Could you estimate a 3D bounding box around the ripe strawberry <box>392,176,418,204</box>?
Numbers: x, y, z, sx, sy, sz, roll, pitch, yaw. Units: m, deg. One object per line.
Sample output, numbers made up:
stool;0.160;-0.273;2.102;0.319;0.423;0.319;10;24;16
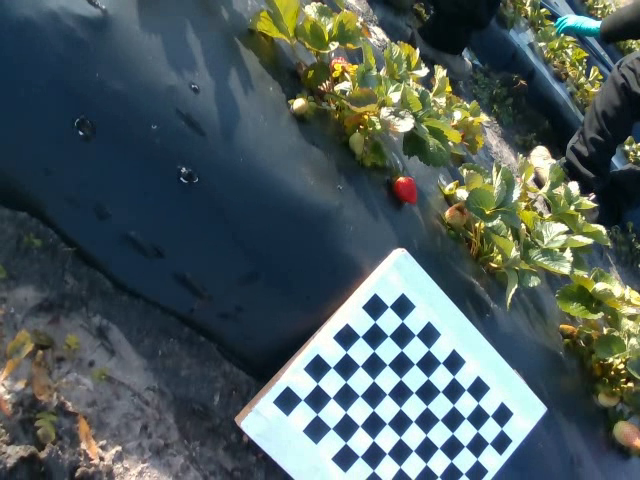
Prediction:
ripe strawberry;0.104;-0.059;0.693;0.030;0.045;0.033;-16;-27;-12
